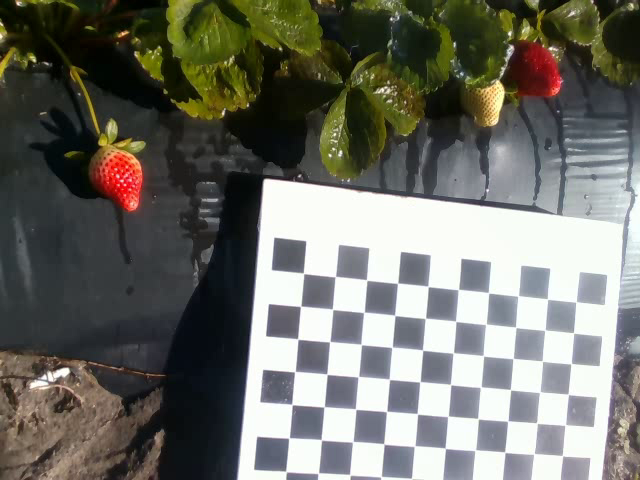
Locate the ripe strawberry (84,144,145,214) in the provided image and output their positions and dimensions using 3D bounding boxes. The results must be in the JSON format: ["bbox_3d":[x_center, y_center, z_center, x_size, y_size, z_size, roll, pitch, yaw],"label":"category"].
[{"bbox_3d":[-0.135,-0.039,0.354,0.039,0.053,0.041,-16,-17,-8],"label":"ripe strawberry"}]
